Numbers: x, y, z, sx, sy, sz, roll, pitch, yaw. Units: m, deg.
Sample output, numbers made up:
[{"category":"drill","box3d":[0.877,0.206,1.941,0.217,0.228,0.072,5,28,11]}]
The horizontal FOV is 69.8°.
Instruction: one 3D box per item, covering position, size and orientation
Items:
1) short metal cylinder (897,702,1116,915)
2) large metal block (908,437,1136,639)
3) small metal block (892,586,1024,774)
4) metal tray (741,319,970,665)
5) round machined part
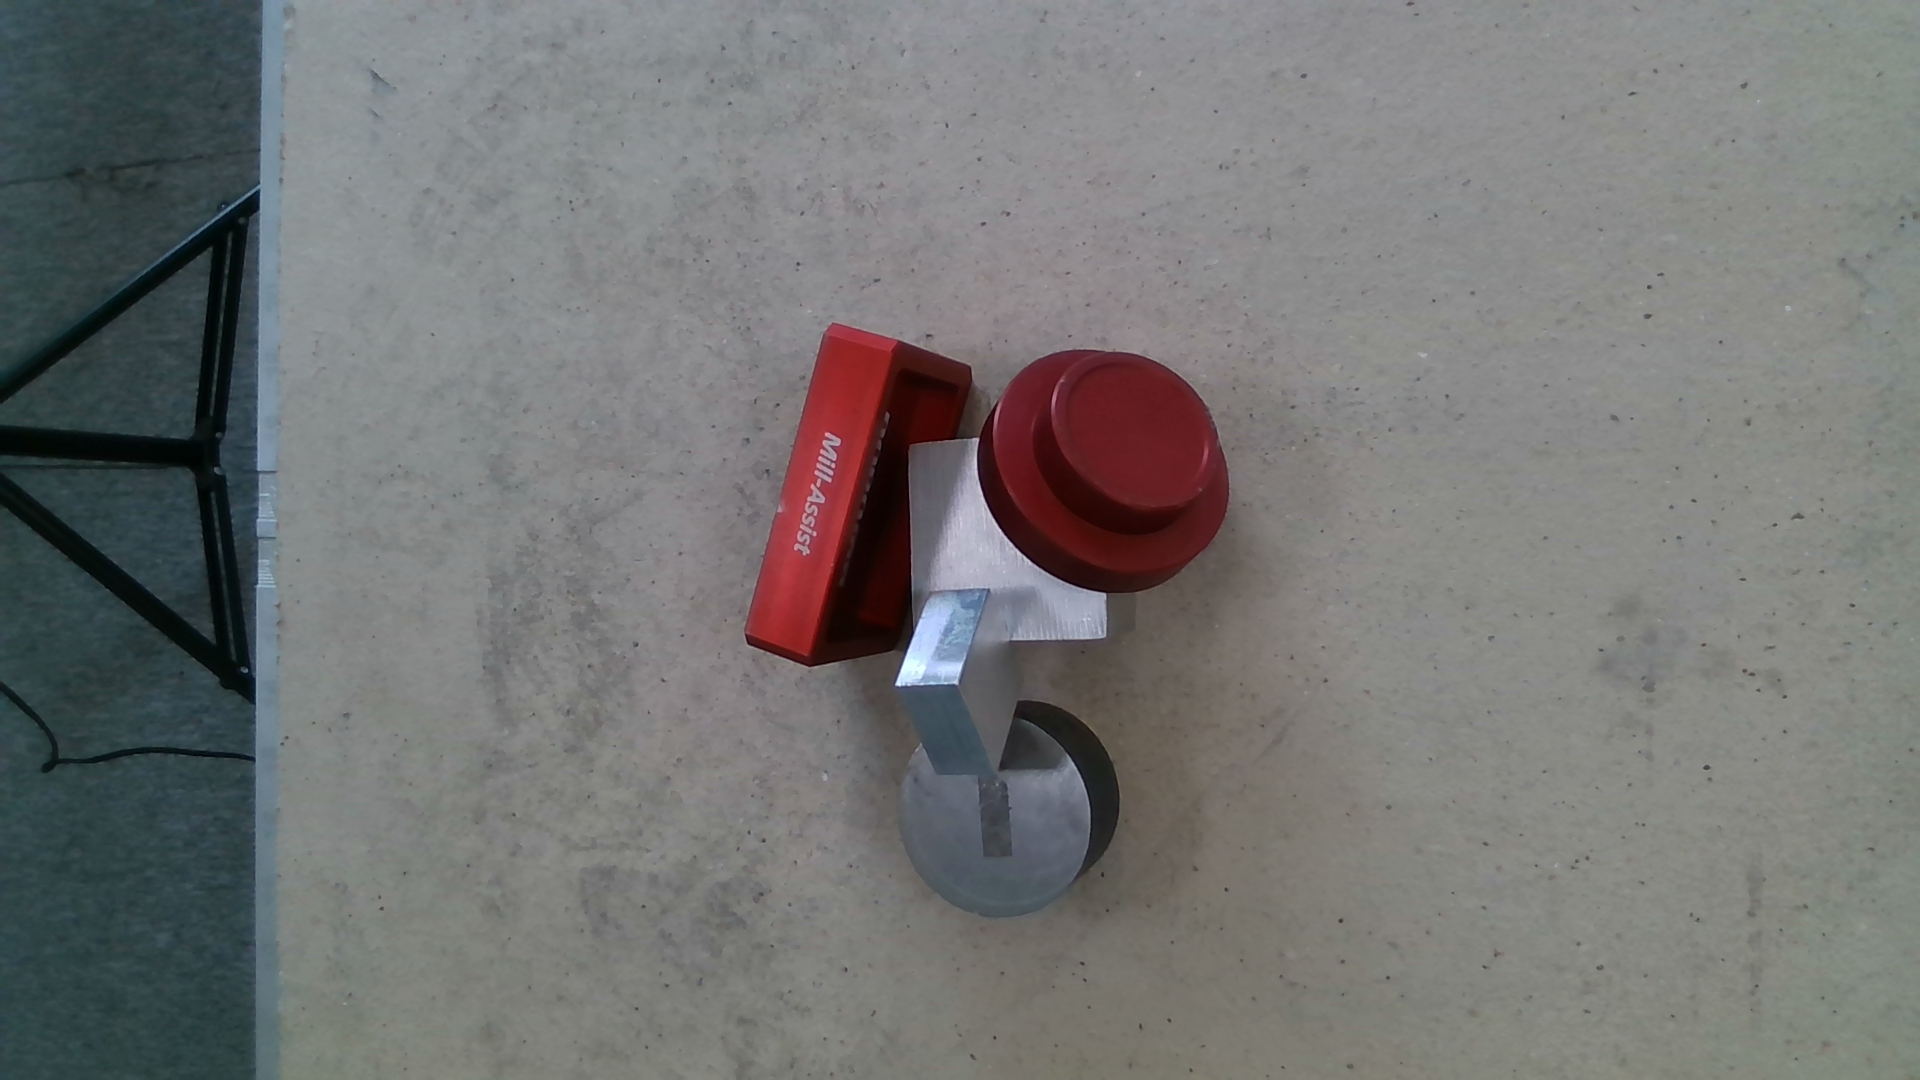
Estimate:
[{"category":"short metal cylinder","box3d":[0.021,0.108,0.567,0.080,0.050,0.080,0,91,20]},{"category":"large metal block","box3d":[0.026,-0.001,0.564,0.080,0.050,0.080,-2,90,20]},{"category":"small metal block","box3d":[0.001,0.053,0.525,0.025,0.050,0.050,-4,130,23]},{"category":"metal tray","box3d":[-0.040,-0.018,0.566,0.030,0.090,0.130,18,97,20]},{"category":"round machined part","box3d":[0.058,-0.033,0.525,0.098,0.098,0.042,55,151,12]}]
